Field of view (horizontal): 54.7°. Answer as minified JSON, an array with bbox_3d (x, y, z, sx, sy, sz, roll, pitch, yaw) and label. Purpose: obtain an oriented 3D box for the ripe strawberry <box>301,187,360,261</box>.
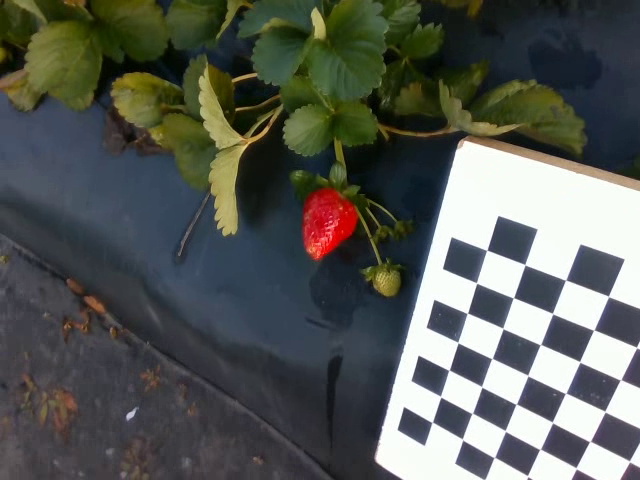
[{"bbox_3d":[0.003,-0.008,0.458,0.043,0.057,0.052,-3,-44,41],"label":"ripe strawberry"}]
